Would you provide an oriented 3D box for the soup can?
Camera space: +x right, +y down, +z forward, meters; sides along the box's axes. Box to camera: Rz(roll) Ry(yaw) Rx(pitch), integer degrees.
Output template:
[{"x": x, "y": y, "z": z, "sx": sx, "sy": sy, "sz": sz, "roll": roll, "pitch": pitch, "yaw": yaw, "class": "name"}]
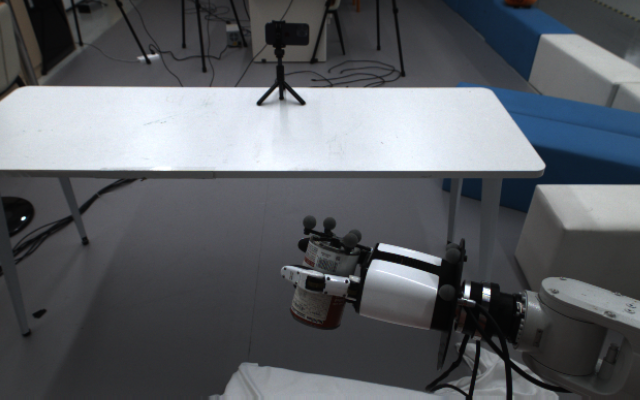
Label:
[{"x": 0.008, "y": 0.102, "z": 0.613, "sx": 0.067, "sy": 0.101, "sz": 0.067, "roll": 15, "pitch": 7, "yaw": -2, "class": "soup can"}]
